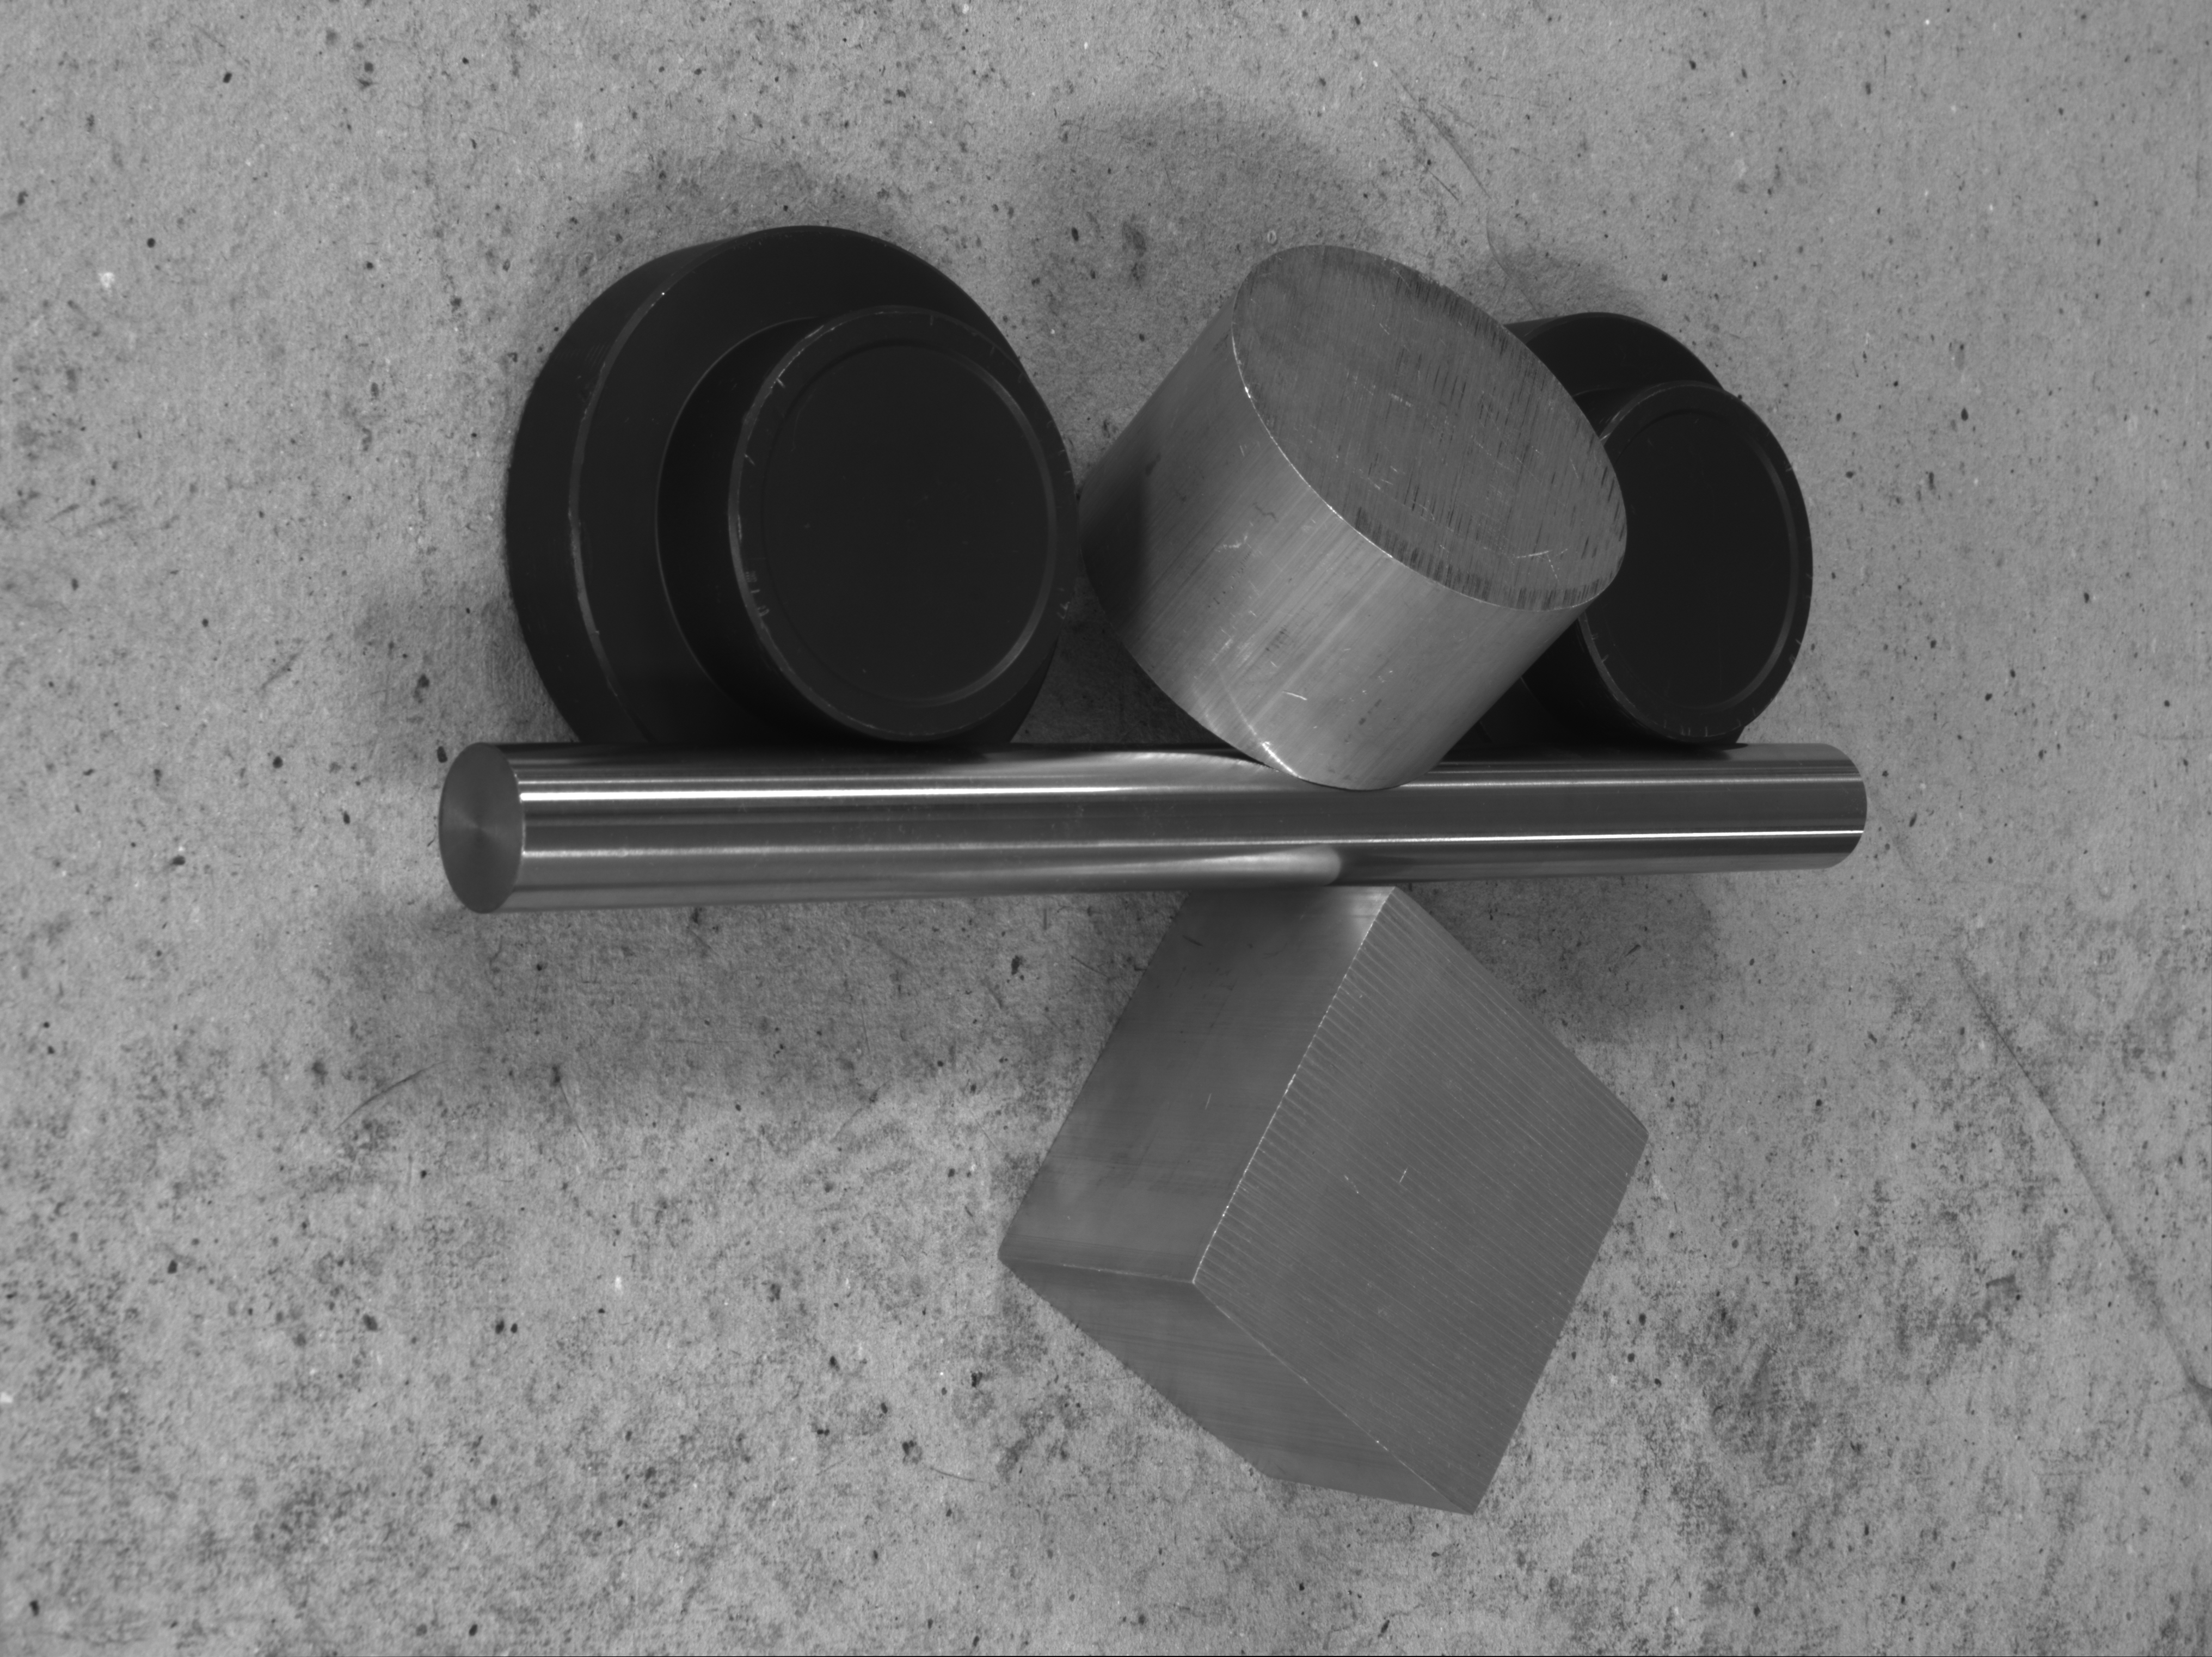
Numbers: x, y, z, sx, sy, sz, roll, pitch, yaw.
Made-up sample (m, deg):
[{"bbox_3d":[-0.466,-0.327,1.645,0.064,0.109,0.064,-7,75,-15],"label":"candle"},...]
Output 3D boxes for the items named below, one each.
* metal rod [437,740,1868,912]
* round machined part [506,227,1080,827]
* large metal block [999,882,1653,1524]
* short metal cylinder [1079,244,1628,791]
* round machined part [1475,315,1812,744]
[{"bbox_3d":[0.025,-0.003,0.630,0.301,0.025,0.025,-1,91,-40],"label":"metal rod"},{"bbox_3d":[-0.043,-0.048,0.589,0.098,0.042,0.098,0,90,-40],"label":"round machined part"},{"bbox_3d":[0.040,0.065,0.651,0.080,0.050,0.080,43,64,-31],"label":"large metal block"},{"bbox_3d":[0.042,-0.053,0.632,0.080,0.050,0.080,22,43,-22],"label":"short metal cylinder"},{"bbox_3d":[0.098,-0.050,0.707,0.098,0.042,0.098,0,90,-40],"label":"round machined part"}]
